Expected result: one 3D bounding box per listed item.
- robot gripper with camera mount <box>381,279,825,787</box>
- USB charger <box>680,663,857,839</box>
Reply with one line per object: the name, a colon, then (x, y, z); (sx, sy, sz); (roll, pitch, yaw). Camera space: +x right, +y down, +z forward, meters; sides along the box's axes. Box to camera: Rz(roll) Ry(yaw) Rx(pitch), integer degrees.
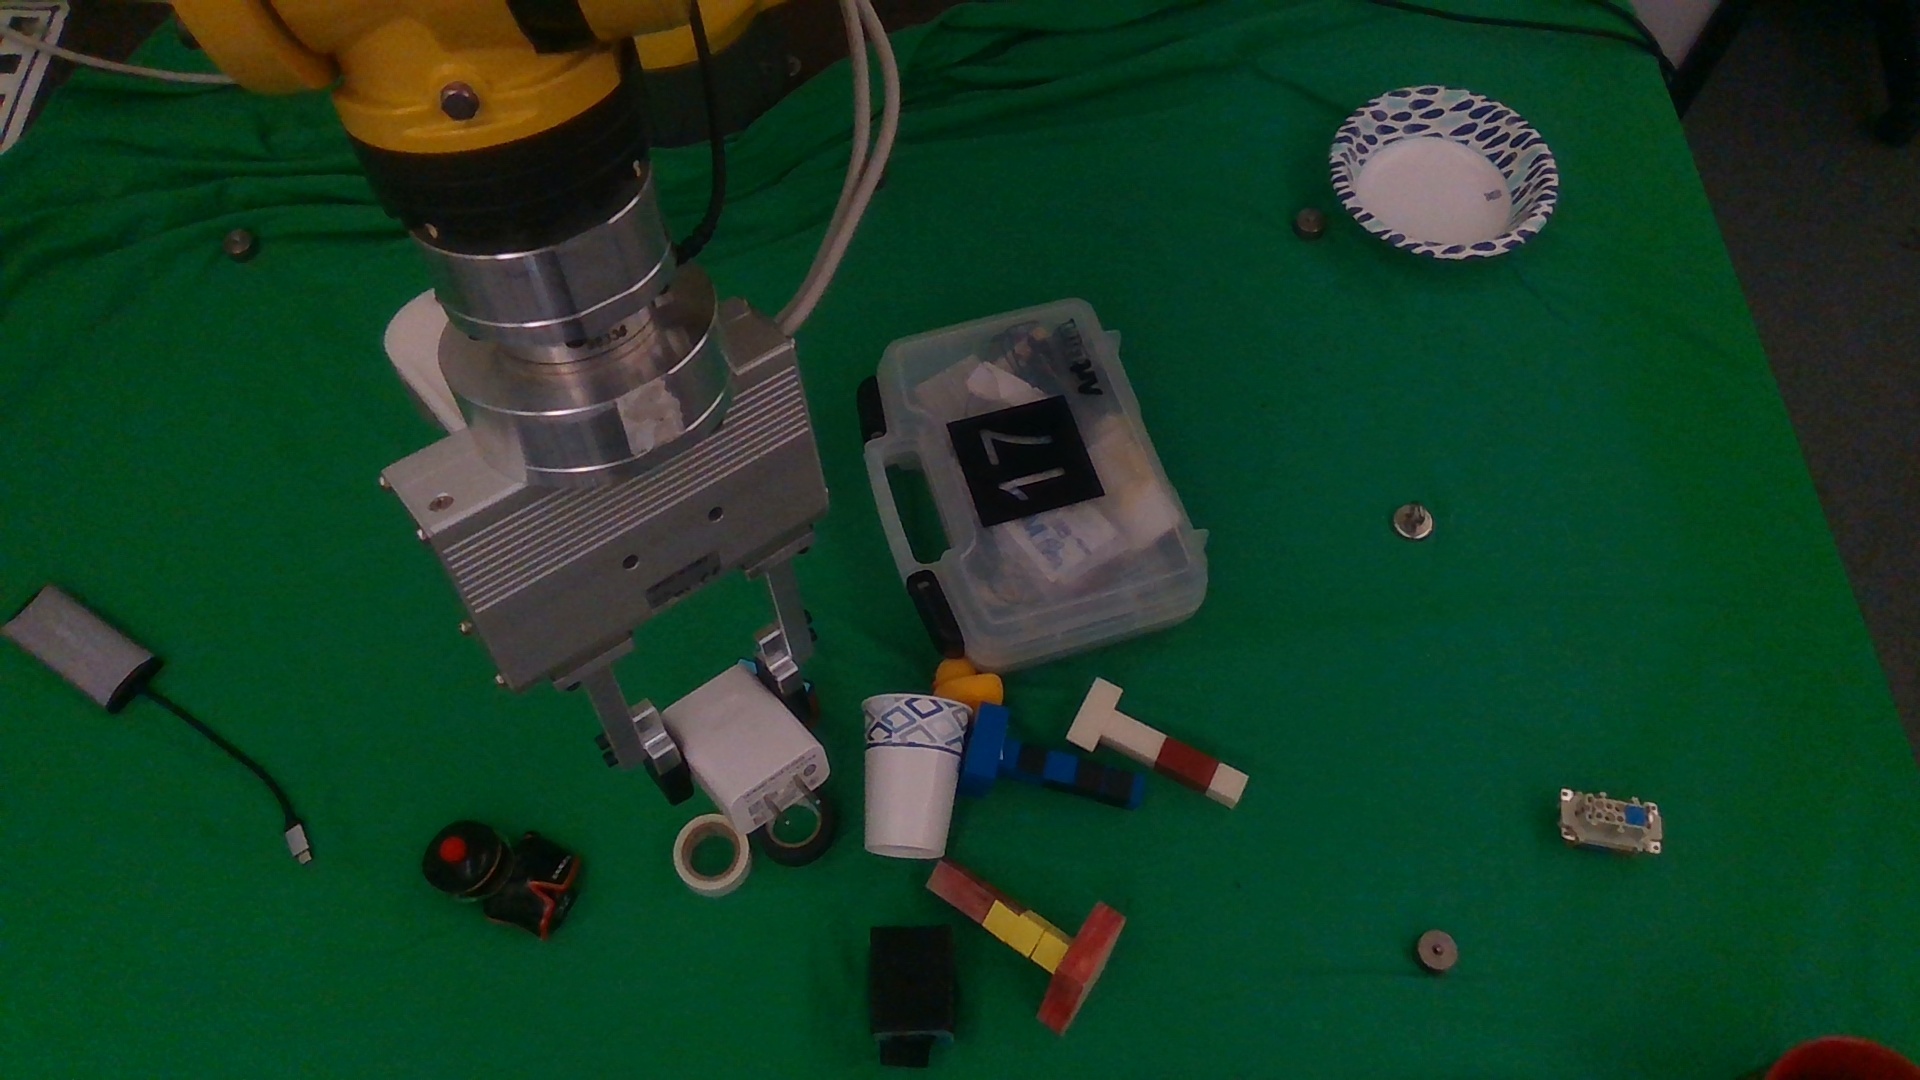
robot gripper with camera mount: (-0.147, -0.015, 0.511); (0.119, 0.158, 0.194); (-34, 52, -22)
USB charger: (-0.067, 0.079, 0.507); (0.044, 0.029, 0.076); (-34, 51, -23)
